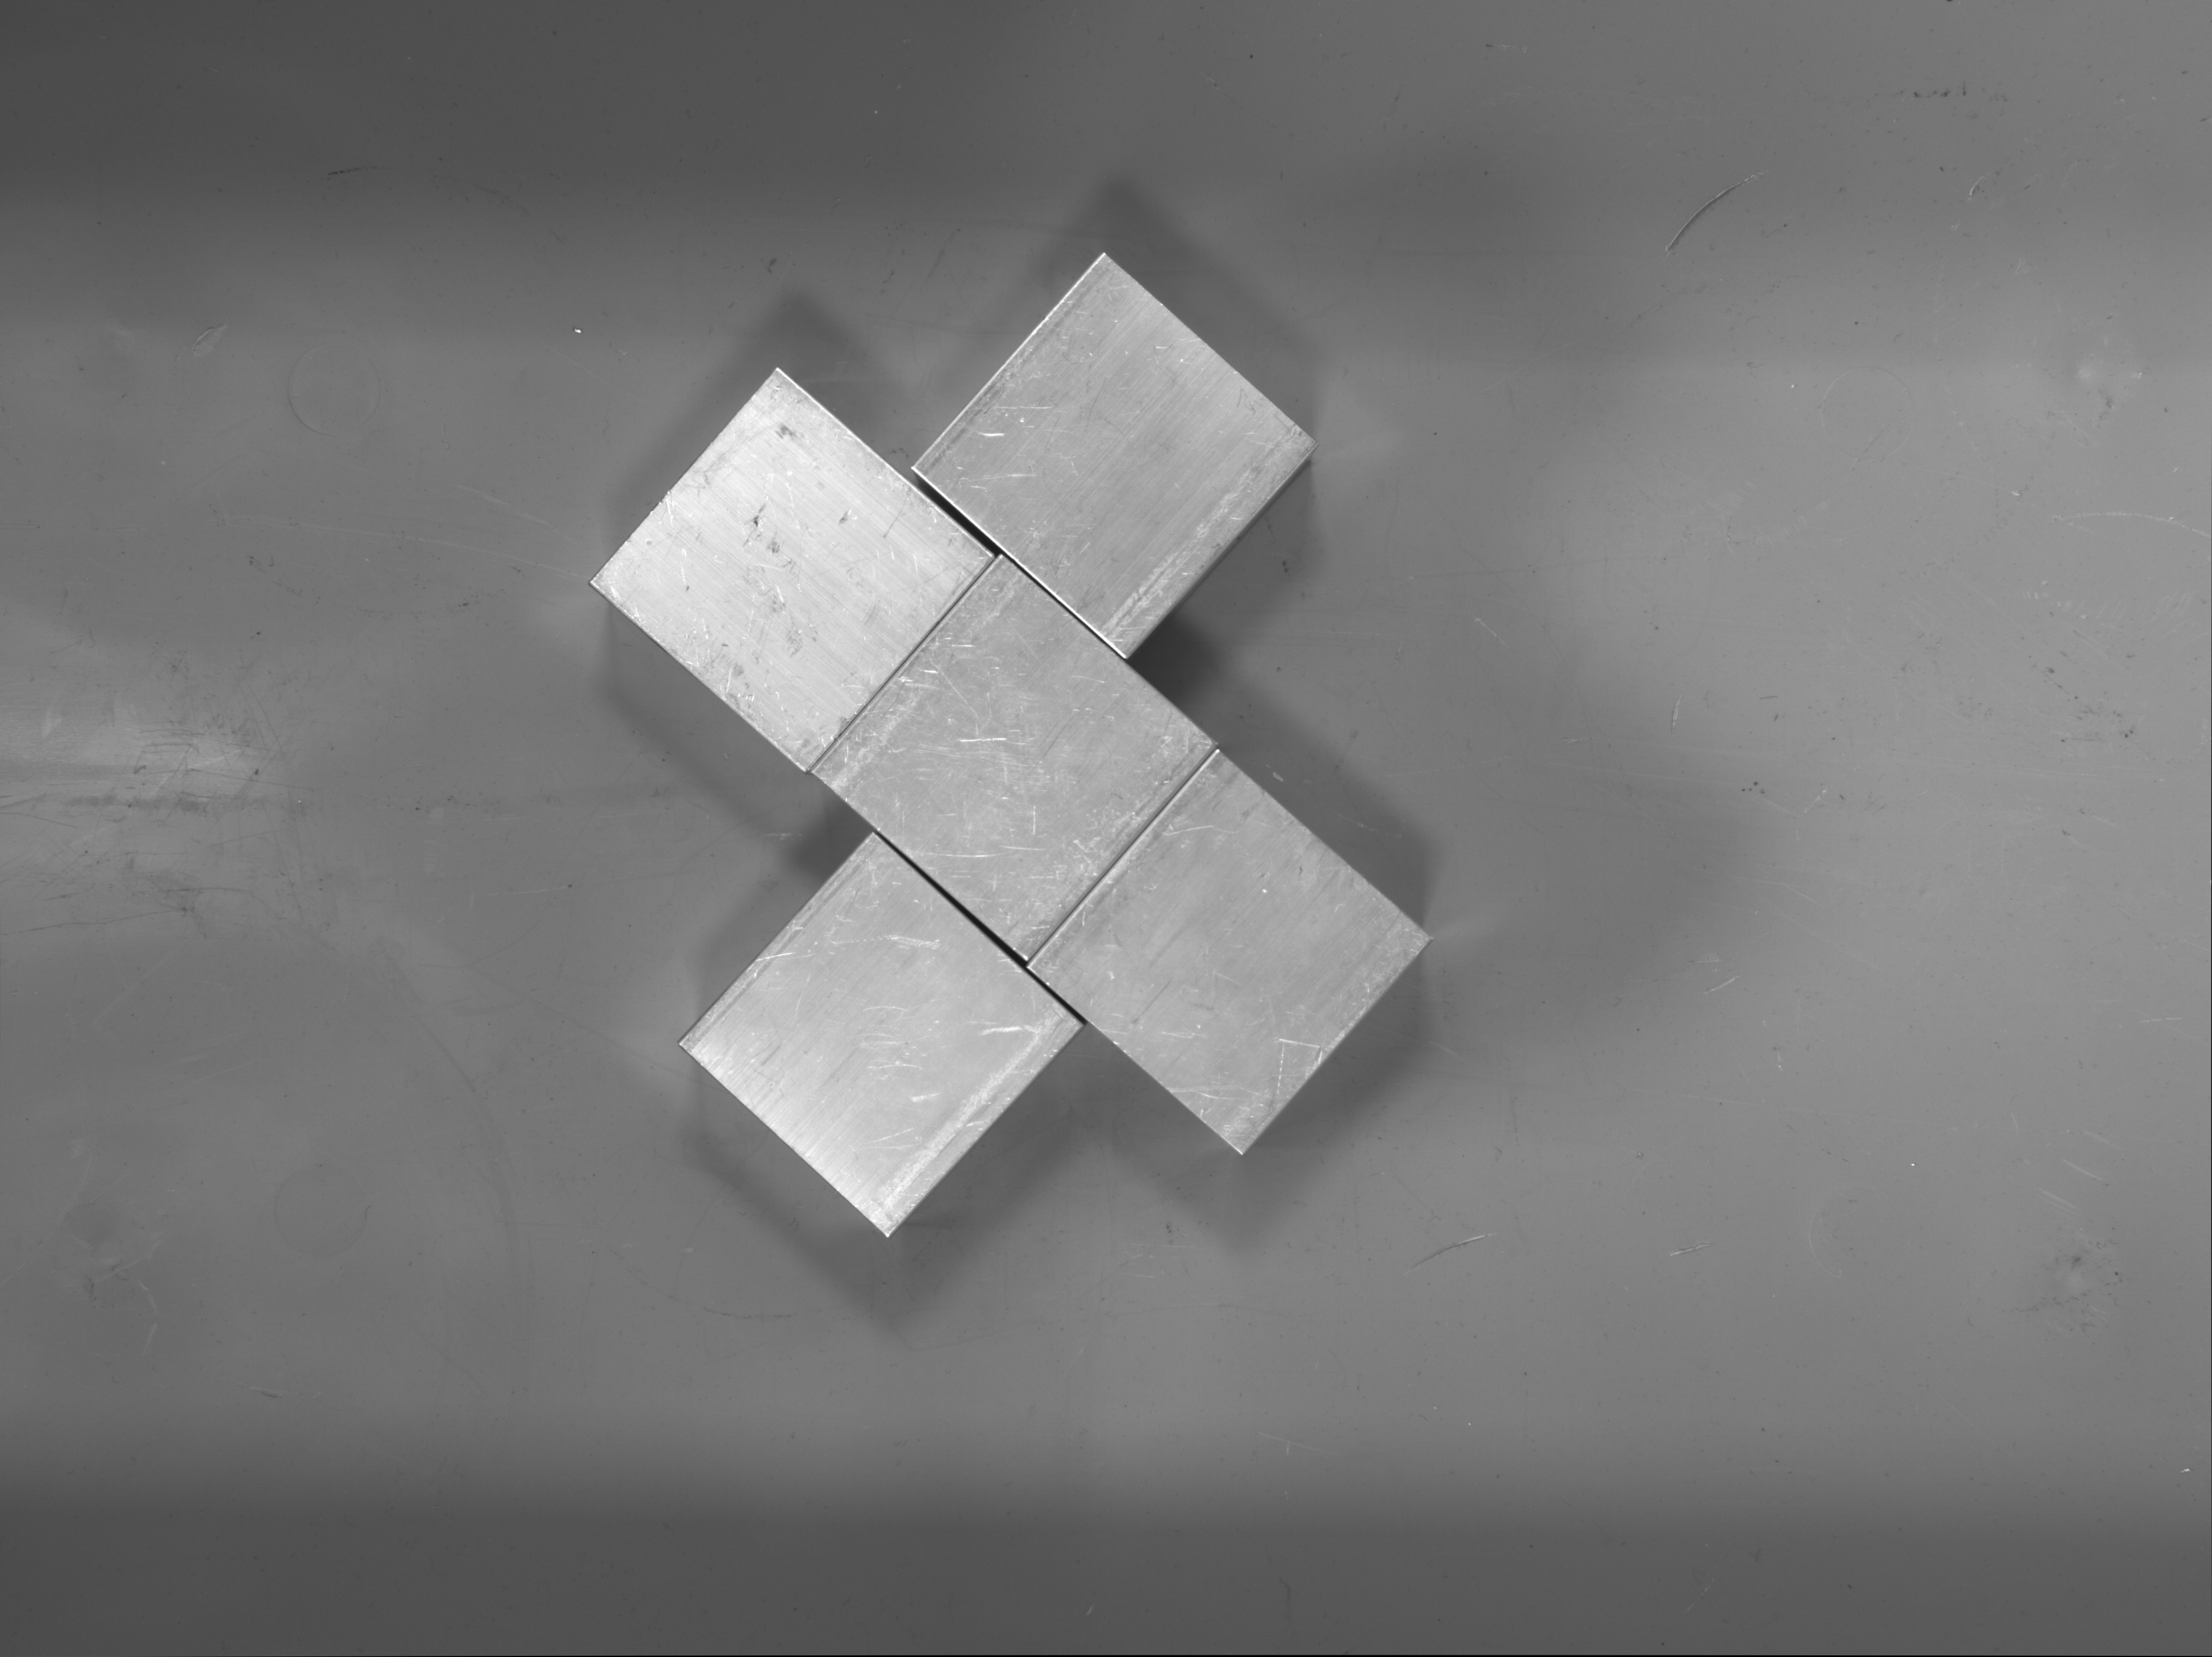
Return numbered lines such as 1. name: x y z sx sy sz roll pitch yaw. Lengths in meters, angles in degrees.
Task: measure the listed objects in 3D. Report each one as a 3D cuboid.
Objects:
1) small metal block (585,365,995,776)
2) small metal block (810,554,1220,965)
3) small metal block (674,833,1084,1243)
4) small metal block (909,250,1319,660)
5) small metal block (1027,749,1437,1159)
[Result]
1. small metal block: -0.054 -0.044 0.643 0.050 0.025 0.050 41 90 0
2. small metal block: -0.016 -0.012 0.643 0.050 0.025 0.050 41 90 0
3. small metal block: -0.039 0.036 0.644 0.050 0.025 0.050 43 91 0
4. small metal block: 0.001 -0.064 0.643 0.050 0.025 0.050 42 89 0
5. small metal block: 0.022 0.022 0.643 0.050 0.025 0.050 41 90 0
